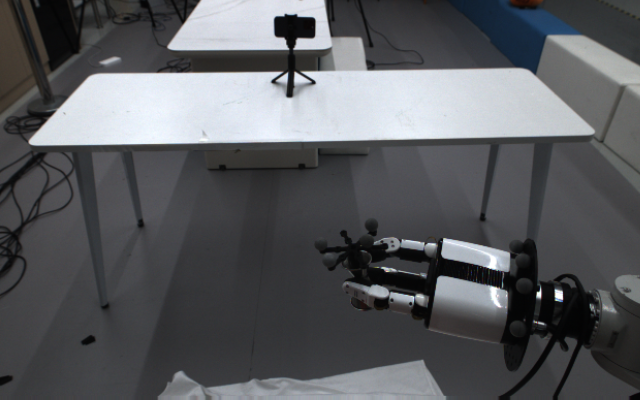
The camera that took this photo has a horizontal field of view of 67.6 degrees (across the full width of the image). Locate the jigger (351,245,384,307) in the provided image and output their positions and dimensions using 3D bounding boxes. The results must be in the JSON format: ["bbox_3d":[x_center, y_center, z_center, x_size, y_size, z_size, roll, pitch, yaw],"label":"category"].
[{"bbox_3d":[0.055,0.104,0.629,0.043,0.071,0.043,-12,29,7],"label":"jigger"}]
